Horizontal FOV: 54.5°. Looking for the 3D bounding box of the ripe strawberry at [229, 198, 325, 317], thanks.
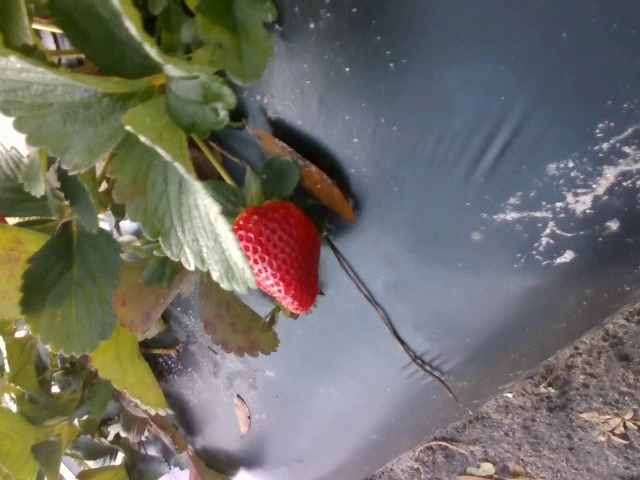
[{"bbox_3d":[-0.015,0.011,0.275,0.049,0.053,0.050,-13,-28,-30],"label":"ripe strawberry"}]
